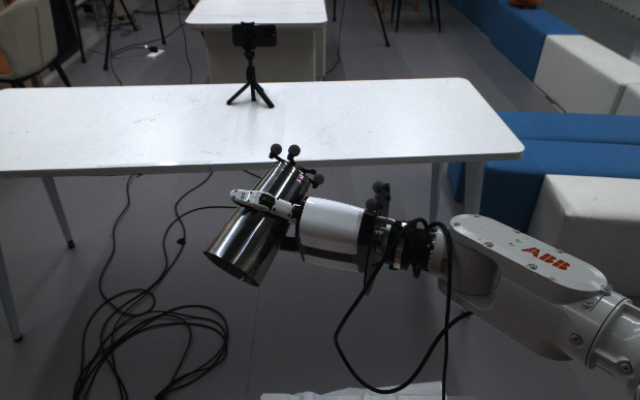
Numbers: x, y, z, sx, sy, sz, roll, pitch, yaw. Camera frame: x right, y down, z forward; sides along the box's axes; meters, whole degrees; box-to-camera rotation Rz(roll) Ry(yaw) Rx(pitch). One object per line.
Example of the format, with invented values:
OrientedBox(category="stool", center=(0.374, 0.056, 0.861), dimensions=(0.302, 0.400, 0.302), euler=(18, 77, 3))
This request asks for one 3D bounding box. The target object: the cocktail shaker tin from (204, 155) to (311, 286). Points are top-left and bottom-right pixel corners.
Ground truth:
OrientedBox(category="cocktail shaker tin", center=(-0.082, 0.027, 0.704), dimensions=(0.093, 0.093, 0.170), euler=(20, 67, 24))
